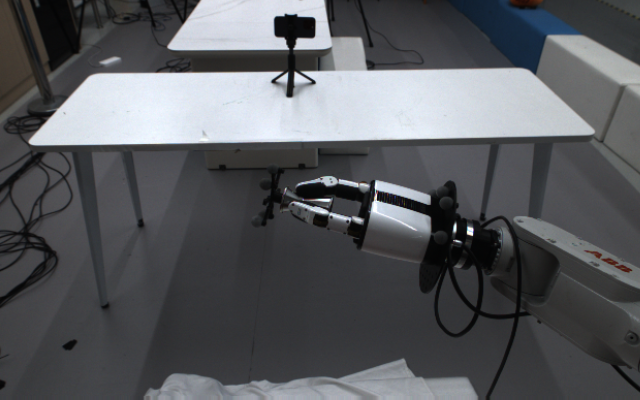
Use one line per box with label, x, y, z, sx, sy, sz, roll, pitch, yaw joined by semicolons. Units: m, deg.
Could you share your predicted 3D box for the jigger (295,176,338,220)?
jigger;-0.012;0.005;0.679;0.071;0.043;0.043;14;36;5
